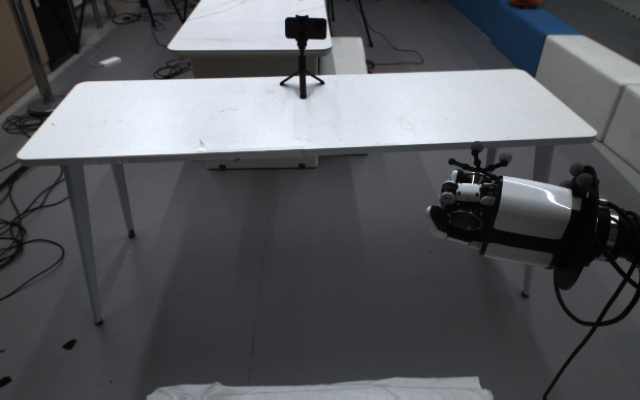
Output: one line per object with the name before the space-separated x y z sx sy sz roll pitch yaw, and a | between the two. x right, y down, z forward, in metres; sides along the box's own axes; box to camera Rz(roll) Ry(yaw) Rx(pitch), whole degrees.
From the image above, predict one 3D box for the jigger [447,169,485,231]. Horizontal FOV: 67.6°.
jigger | 0.203 -0.002 0.646 0.043 0.043 0.071 16 58 19
